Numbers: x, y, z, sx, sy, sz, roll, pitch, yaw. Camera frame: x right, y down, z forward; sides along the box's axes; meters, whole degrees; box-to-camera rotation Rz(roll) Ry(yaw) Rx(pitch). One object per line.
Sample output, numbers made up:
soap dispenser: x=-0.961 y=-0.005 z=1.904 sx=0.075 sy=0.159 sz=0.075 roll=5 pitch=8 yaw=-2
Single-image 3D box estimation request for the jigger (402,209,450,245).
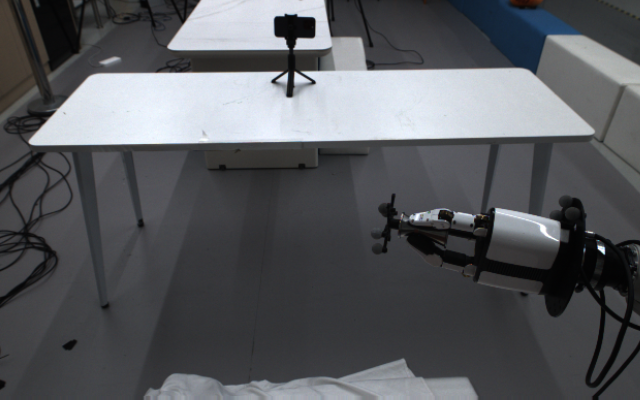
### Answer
jigger: x=0.155 y=0.037 z=0.692 sx=0.071 sy=0.043 sz=0.043 roll=10 pitch=35 yaw=15
